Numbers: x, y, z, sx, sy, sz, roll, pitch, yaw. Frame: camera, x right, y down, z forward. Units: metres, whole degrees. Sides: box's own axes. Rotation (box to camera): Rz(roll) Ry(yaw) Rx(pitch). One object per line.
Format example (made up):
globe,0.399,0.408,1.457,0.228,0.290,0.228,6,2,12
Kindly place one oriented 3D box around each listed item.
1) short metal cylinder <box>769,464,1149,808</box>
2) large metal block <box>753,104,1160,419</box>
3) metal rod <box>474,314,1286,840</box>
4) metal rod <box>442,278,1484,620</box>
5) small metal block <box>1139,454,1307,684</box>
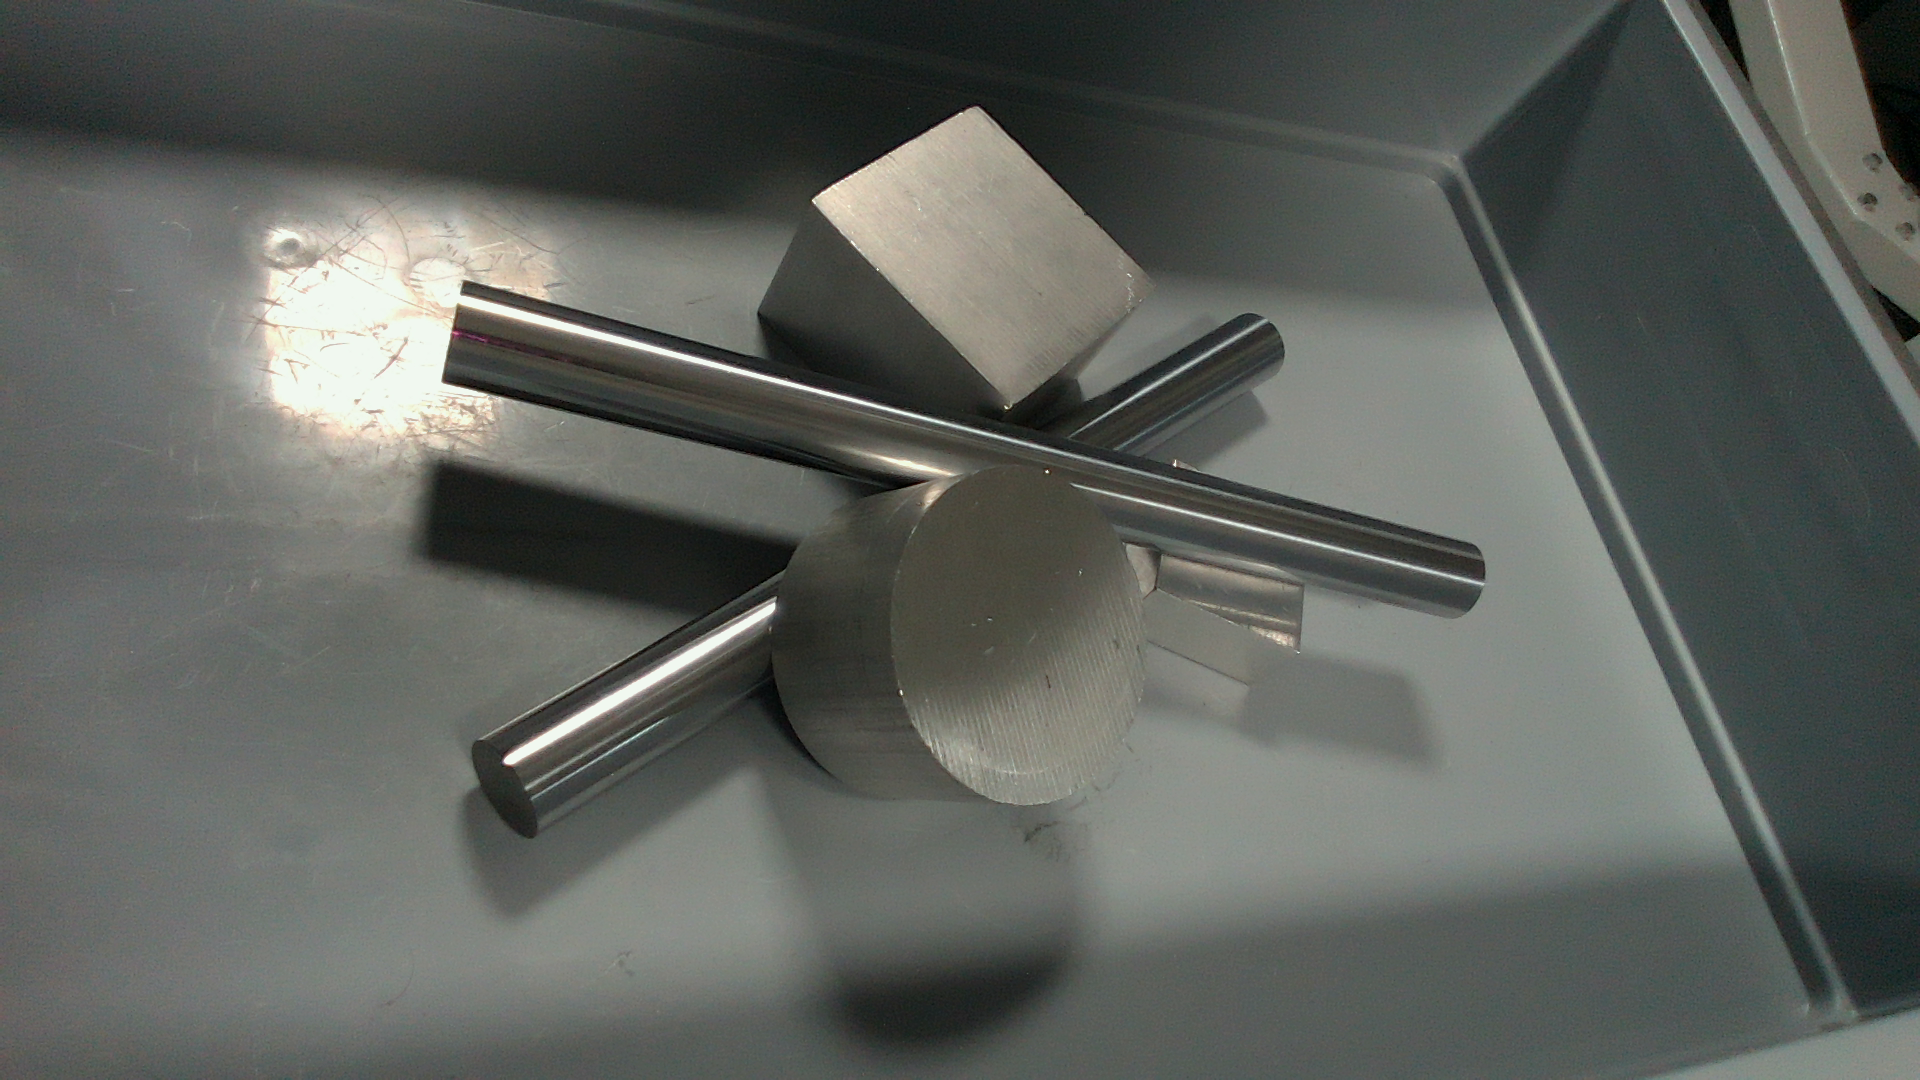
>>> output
short metal cylinder,0.001,0.025,0.339,0.080,0.050,0.080,7,79,-39
large metal block,-0.001,-0.074,0.416,0.080,0.050,0.080,46,51,4
metal rod,0.003,-0.007,0.393,0.301,0.025,0.025,-31,79,-38
metal rod,0.018,-0.018,0.377,0.301,0.025,0.025,13,56,-21
small metal block,0.079,0.009,0.423,0.050,0.025,0.050,24,53,-14
